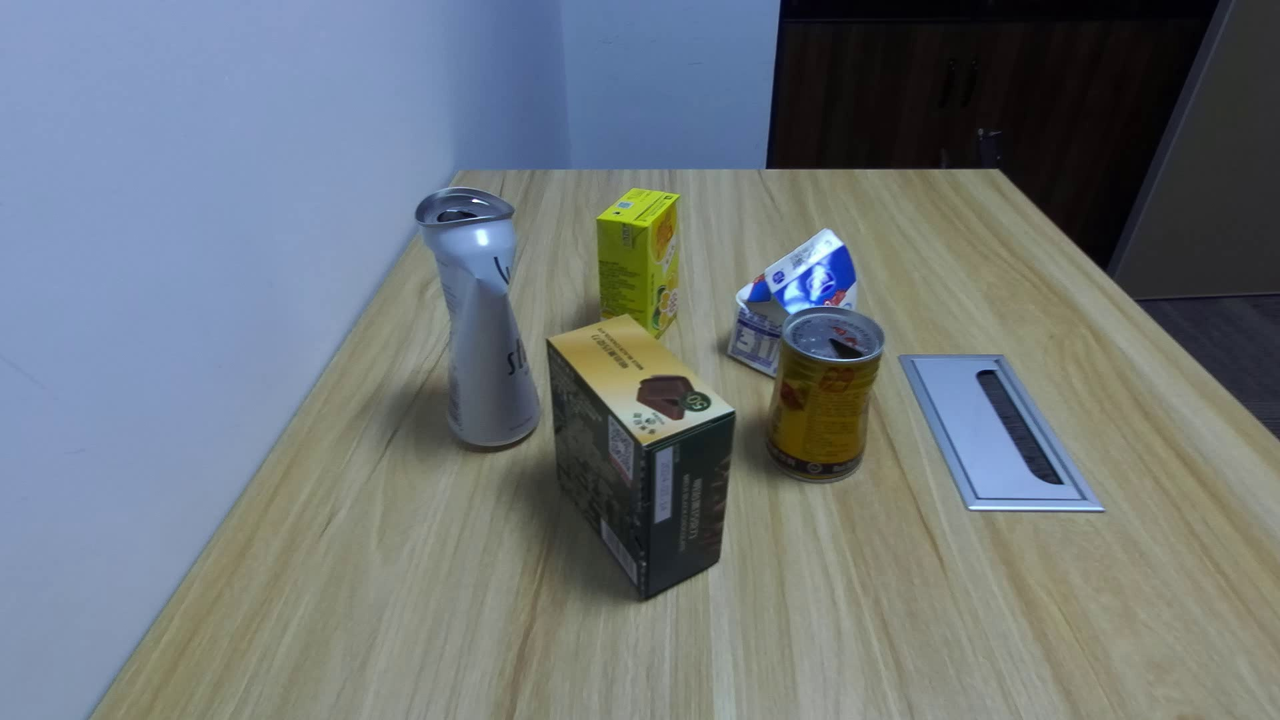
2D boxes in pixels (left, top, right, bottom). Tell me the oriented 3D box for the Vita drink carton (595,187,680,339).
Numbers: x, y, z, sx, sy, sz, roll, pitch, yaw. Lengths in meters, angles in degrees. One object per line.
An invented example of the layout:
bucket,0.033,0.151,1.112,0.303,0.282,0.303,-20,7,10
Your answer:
Vita drink carton,0.000,-0.071,0.553,0.043,0.109,0.067,14,38,20

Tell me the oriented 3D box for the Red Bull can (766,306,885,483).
Red Bull can,0.113,0.021,0.436,0.069,0.092,0.069,-1,36,1

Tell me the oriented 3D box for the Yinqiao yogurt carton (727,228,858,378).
Yinqiao yogurt carton,0.119,-0.045,0.527,0.077,0.093,0.083,28,43,35

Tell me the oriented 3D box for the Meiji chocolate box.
Meiji chocolate box,-0.002,0.050,0.389,0.056,0.109,0.109,-19,39,-25

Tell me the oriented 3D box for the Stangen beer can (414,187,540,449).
Stangen beer can,-0.099,-0.022,0.449,0.077,0.162,0.066,14,39,19
